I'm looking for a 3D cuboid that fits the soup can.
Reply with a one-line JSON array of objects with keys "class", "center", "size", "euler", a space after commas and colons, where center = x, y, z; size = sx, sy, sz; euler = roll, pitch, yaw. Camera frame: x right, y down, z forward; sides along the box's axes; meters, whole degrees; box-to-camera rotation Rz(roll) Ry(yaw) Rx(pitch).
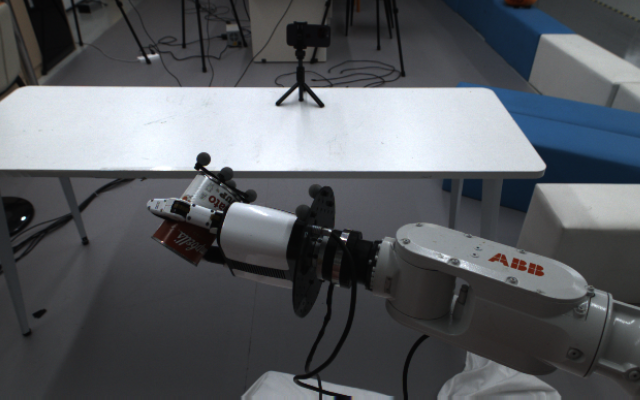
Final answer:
[{"class": "soup can", "center": [-0.155, 0.025, 0.613], "size": [0.067, 0.067, 0.101], "euler": [25, 73, 29]}]
